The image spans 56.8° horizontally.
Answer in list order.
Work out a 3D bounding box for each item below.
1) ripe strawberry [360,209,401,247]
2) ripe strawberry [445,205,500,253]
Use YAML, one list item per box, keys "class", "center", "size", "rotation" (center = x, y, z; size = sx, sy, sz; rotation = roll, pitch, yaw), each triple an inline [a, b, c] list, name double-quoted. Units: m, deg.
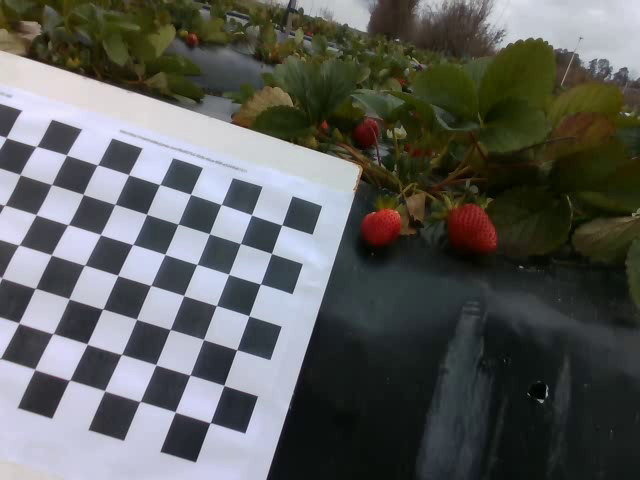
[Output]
- class: "ripe strawberry"
  center: [0.049, -0.012, 0.464]
  size: [0.036, 0.041, 0.028]
  rotation: [12, -39, 8]
- class: "ripe strawberry"
  center: [0.126, -0.009, 0.486]
  size: [0.044, 0.059, 0.042]
  rotation: [-32, -37, -5]
